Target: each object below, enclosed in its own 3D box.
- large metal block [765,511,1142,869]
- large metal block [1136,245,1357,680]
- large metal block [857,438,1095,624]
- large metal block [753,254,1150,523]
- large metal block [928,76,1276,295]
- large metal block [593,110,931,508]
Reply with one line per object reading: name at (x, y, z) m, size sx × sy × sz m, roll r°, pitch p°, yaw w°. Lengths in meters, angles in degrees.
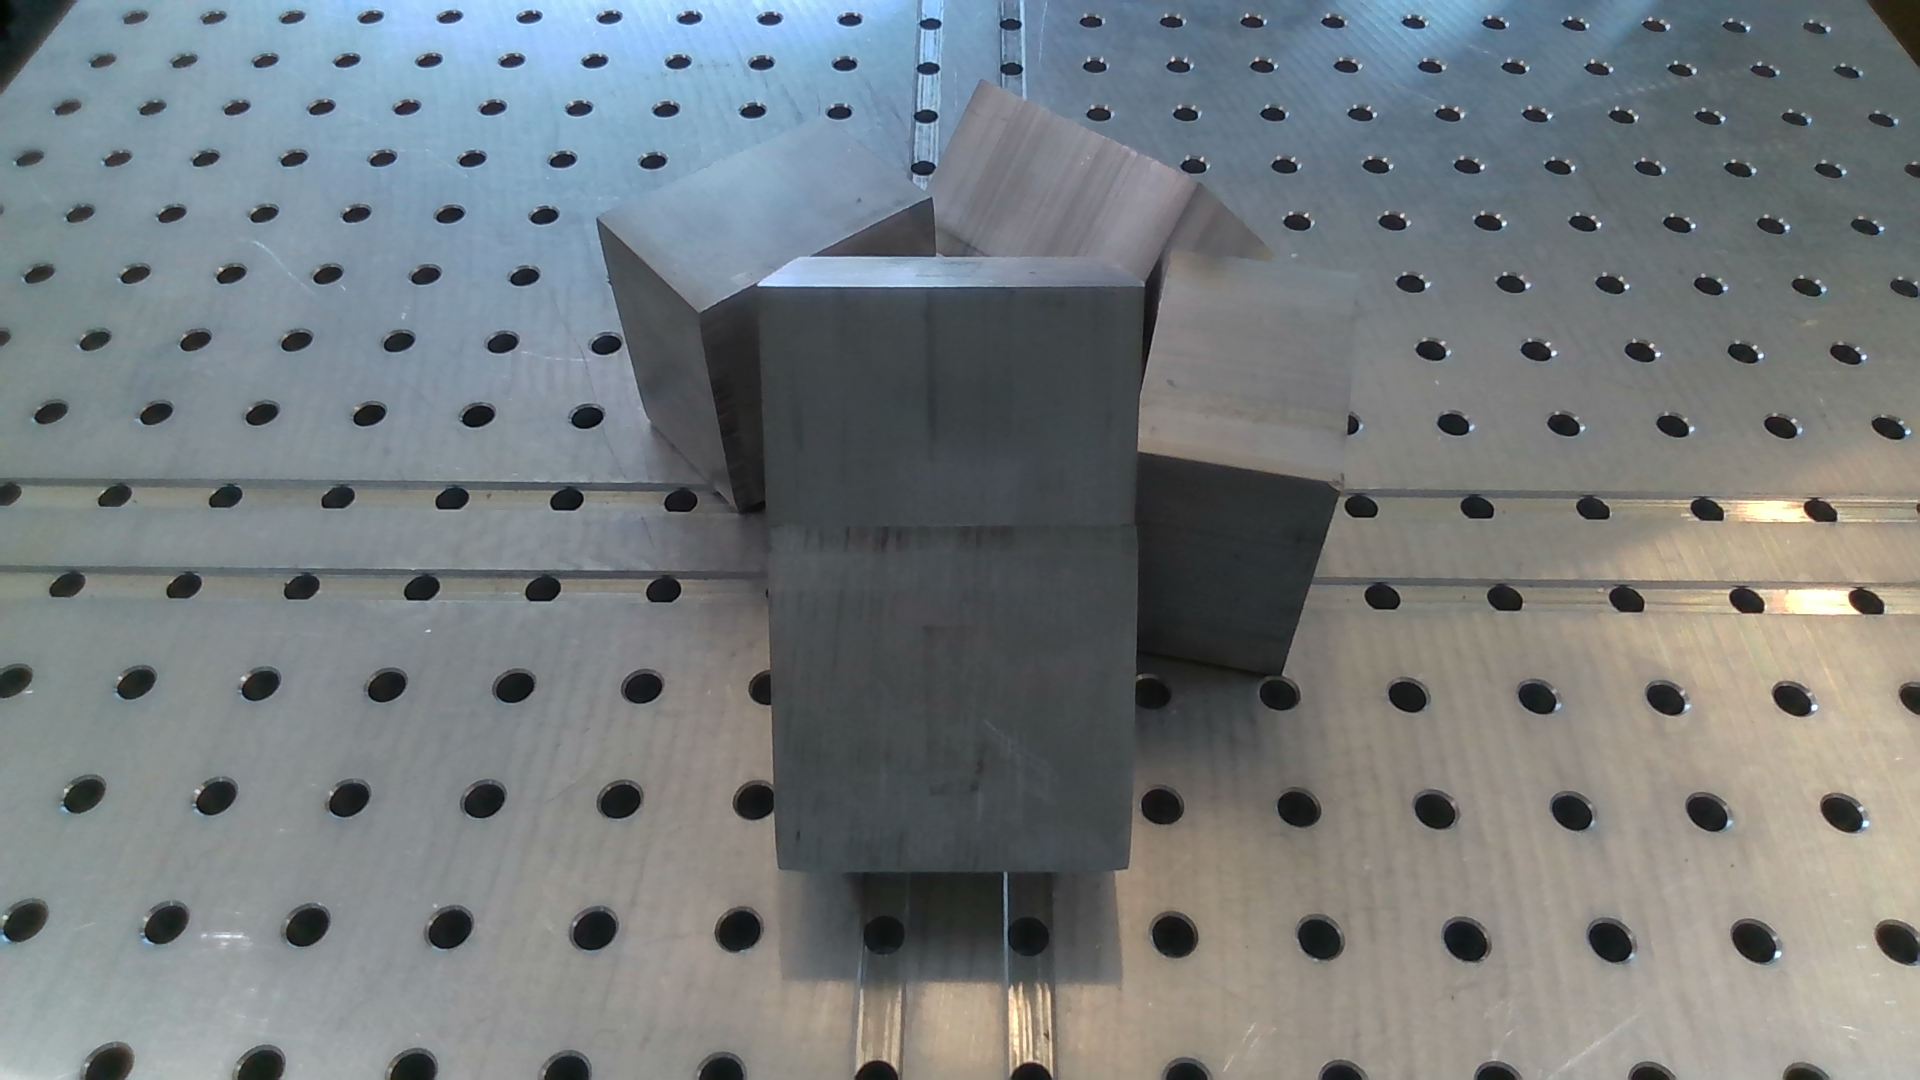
large metal block at (-0.002, 0.030, 0.325) m, size 0.080 × 0.080 × 0.050 m, roll 0°, pitch 13°, yaw -1°
large metal block at (0.073, -0.021, 0.379) m, size 0.050 × 0.080 × 0.080 m, roll 10°, pitch 51°, yaw 8°
large metal block at (-0.001, -0.013, 0.391) m, size 0.080 × 0.050 × 0.080 m, roll 1°, pitch 50°, yaw 0°
large metal block at (-0.002, -0.039, 0.323) m, size 0.080 × 0.050 × 0.080 m, roll 1°, pitch 16°, yaw 0°
large metal block at (0.042, -0.093, 0.430) m, size 0.080 × 0.080 × 0.050 m, roll 34°, pitch 102°, yaw 25°
large metal block at (-0.055, -0.070, 0.418) m, size 0.080 × 0.080 × 0.050 m, roll -33°, pitch 58°, yaw -24°
